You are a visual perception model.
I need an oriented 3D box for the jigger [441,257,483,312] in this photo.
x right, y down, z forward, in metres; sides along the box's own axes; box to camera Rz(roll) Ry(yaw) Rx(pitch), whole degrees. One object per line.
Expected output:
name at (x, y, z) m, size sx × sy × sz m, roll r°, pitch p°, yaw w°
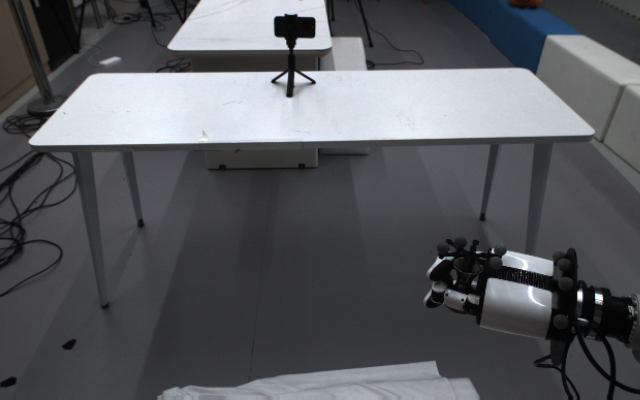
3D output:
jigger at (0.208, 0.120, 0.692) m, size 0.043 × 0.071 × 0.043 m, roll 3°, pitch 25°, yaw -1°
